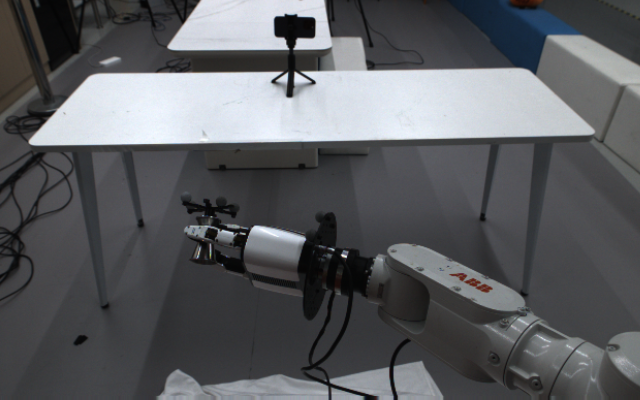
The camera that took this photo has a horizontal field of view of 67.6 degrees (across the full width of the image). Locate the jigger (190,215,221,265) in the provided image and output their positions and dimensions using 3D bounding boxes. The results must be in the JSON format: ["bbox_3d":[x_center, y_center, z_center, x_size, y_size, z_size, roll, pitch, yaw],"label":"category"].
[{"bbox_3d":[-0.177,0.062,0.743,0.043,0.043,0.071,3,73,1],"label":"jigger"}]
